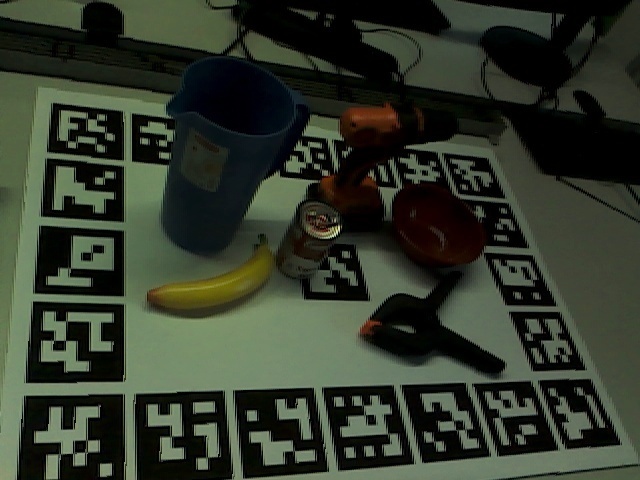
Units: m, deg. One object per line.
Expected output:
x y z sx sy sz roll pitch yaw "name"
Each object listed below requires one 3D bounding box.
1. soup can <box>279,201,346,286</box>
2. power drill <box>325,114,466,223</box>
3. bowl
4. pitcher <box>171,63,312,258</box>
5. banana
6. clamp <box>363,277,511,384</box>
-0.013 0.006 0.852 0.068 0.102 0.068 12 41 -11 "soup can"
0.099 -0.102 0.905 0.183 0.187 0.057 0 54 -25 "power drill"
0.183 0.001 0.972 0.161 0.055 0.162 11 51 -15 "bowl"
-0.112 -0.093 0.793 0.188 0.242 0.134 -19 60 -35 "pitcher"
-0.129 0.059 0.802 0.196 0.039 0.074 -20 55 -37 "banana"
0.156 0.125 0.861 0.202 0.037 0.166 1 56 -23 "clamp"
